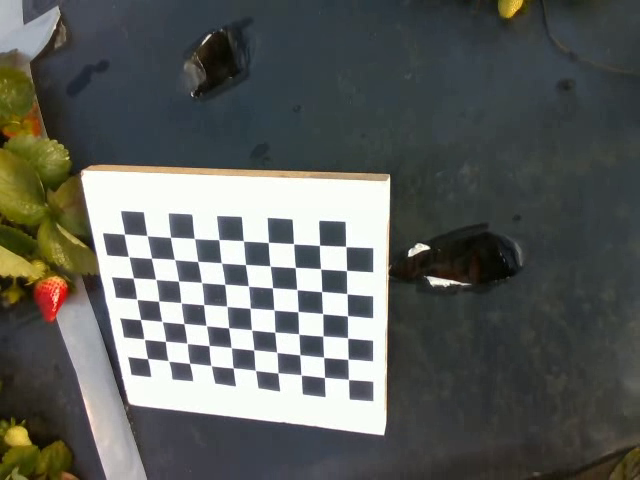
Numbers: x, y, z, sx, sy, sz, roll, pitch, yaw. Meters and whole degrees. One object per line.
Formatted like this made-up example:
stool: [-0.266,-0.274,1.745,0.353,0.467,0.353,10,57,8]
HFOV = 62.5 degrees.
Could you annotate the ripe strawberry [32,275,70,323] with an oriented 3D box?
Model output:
ripe strawberry: [-0.266,0.060,0.522,0.050,0.055,0.035,-5,3,6]
